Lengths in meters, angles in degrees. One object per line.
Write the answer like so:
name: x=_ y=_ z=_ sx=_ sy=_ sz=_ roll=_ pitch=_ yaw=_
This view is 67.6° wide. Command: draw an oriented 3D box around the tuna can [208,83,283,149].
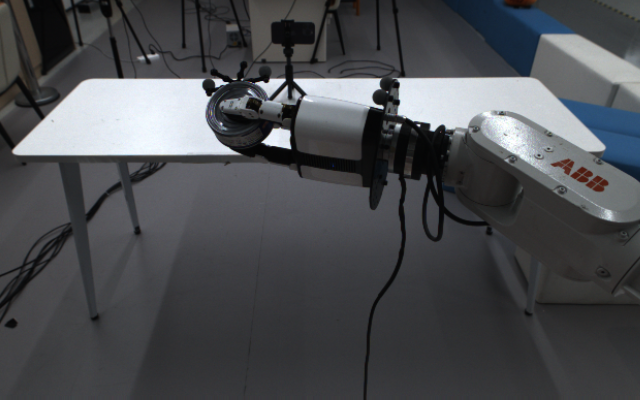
tuna can: x=-0.100 y=-0.106 z=0.630 sx=0.085 sy=0.034 sz=0.085 roll=-4 pitch=68 yaw=9
